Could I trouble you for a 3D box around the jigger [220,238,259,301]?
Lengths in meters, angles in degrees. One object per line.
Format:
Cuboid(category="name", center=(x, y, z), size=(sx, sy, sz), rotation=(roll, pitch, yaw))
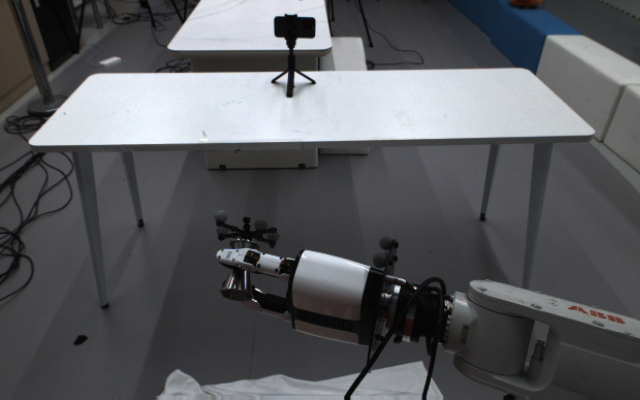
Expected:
Cuboid(category="jigger", center=(-0.102, 0.086, 0.614), size=(0.043, 0.043, 0.071), rotation=(4, 60, 3))
